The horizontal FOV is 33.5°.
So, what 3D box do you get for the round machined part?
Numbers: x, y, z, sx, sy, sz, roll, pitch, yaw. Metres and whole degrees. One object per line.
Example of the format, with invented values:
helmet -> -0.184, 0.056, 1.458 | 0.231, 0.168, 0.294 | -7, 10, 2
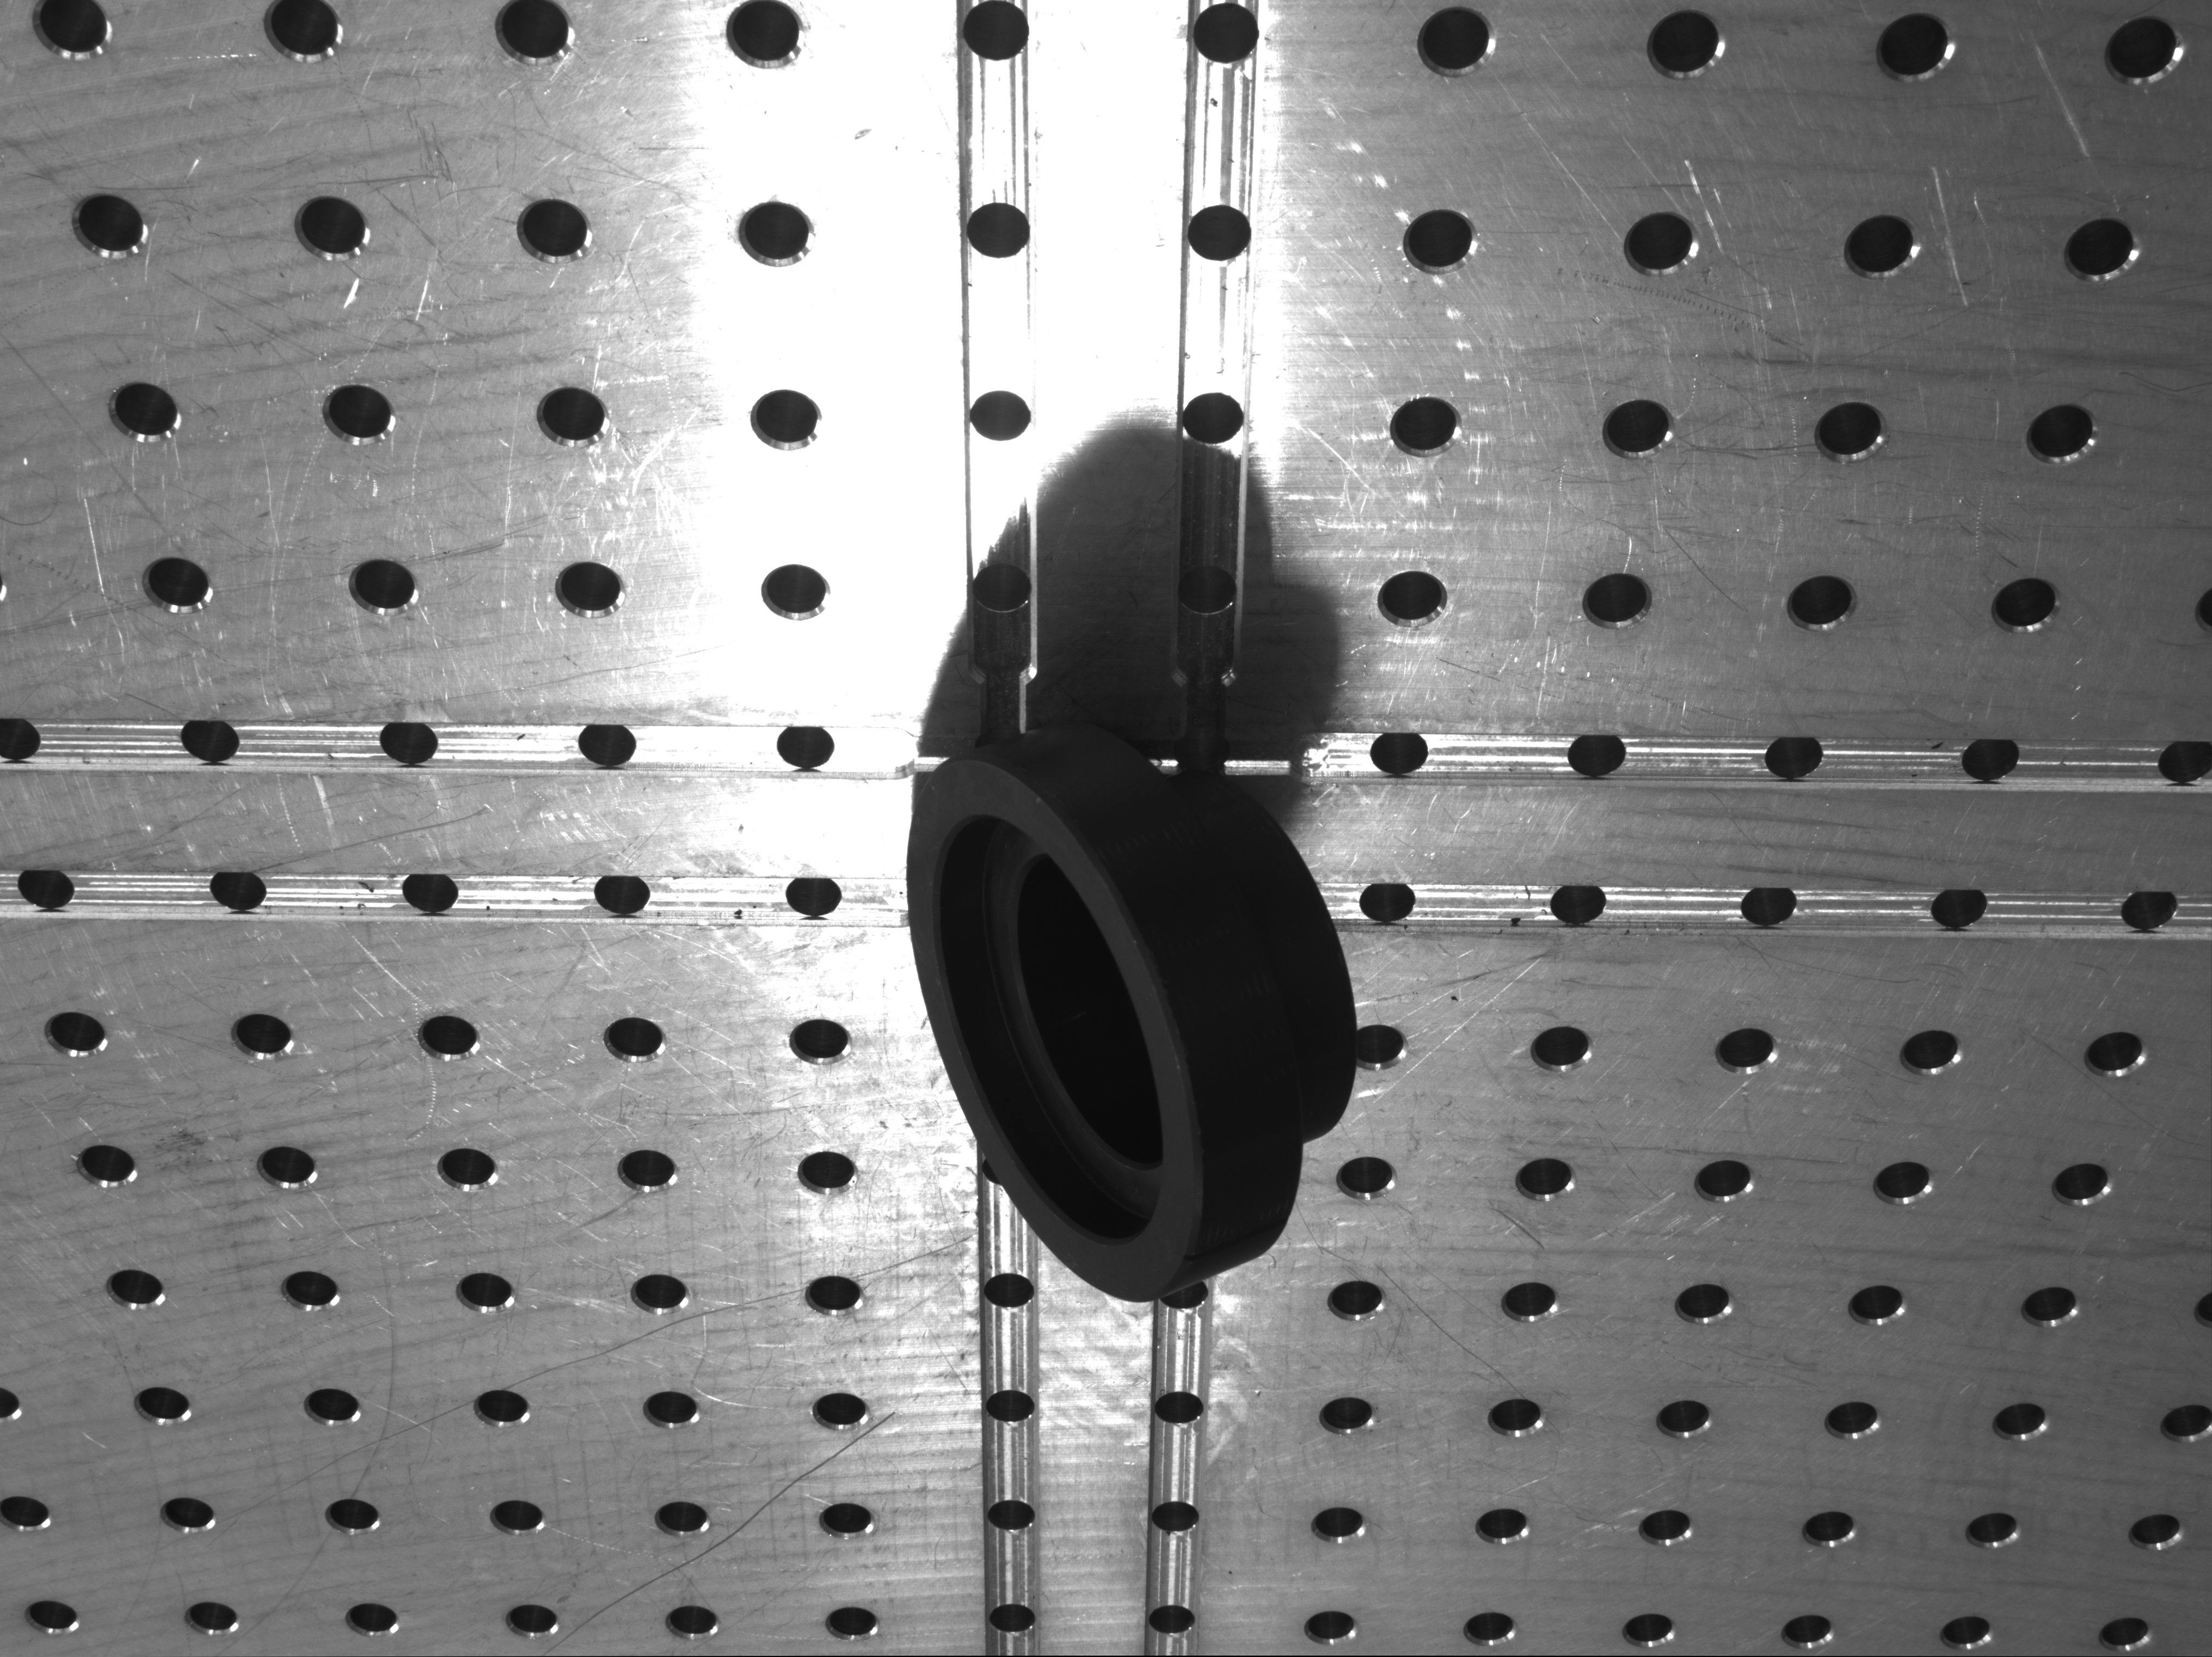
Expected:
round machined part -> 0.007, 0.028, 0.631 | 0.042, 0.098, 0.098 | -19, 135, -25
